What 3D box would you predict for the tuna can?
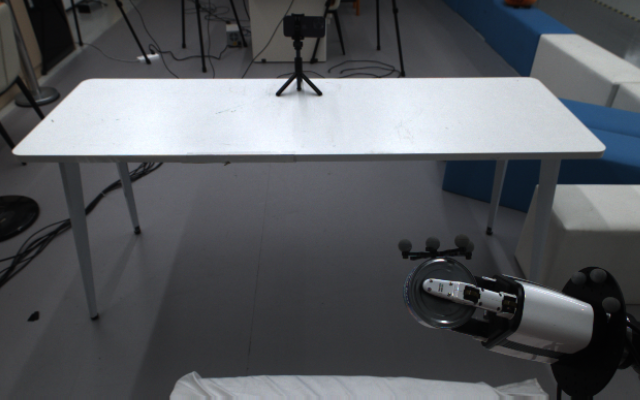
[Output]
[{"bbox_3d":[0.149,0.111,0.590,0.085,0.034,0.085,1,70,-3],"label":"tuna can"}]
